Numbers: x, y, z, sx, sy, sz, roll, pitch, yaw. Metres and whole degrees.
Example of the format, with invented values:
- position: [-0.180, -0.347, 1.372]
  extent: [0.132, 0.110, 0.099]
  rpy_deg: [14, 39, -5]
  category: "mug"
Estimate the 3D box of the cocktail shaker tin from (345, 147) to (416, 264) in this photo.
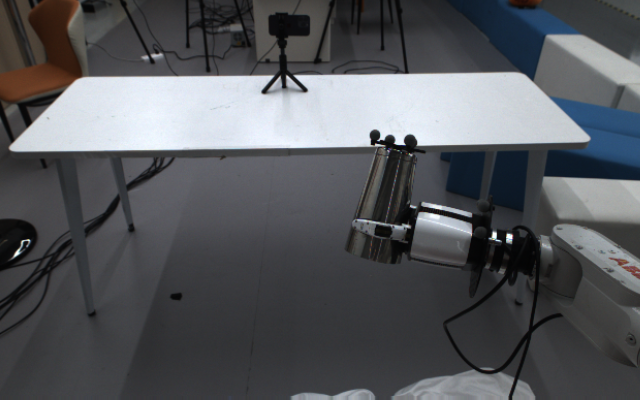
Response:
- position: [0.102, 0.006, 0.769]
  extent: [0.093, 0.170, 0.093]
  rpy_deg: [13, 4, -1]
  category: "cocktail shaker tin"
